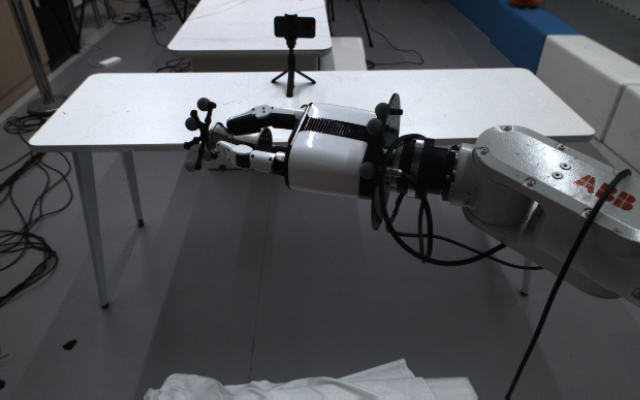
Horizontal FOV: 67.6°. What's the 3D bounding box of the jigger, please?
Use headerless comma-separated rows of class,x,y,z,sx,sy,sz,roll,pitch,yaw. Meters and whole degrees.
jigger,-0.097,-0.077,0.608,0.071,0.043,0.043,10,36,15
